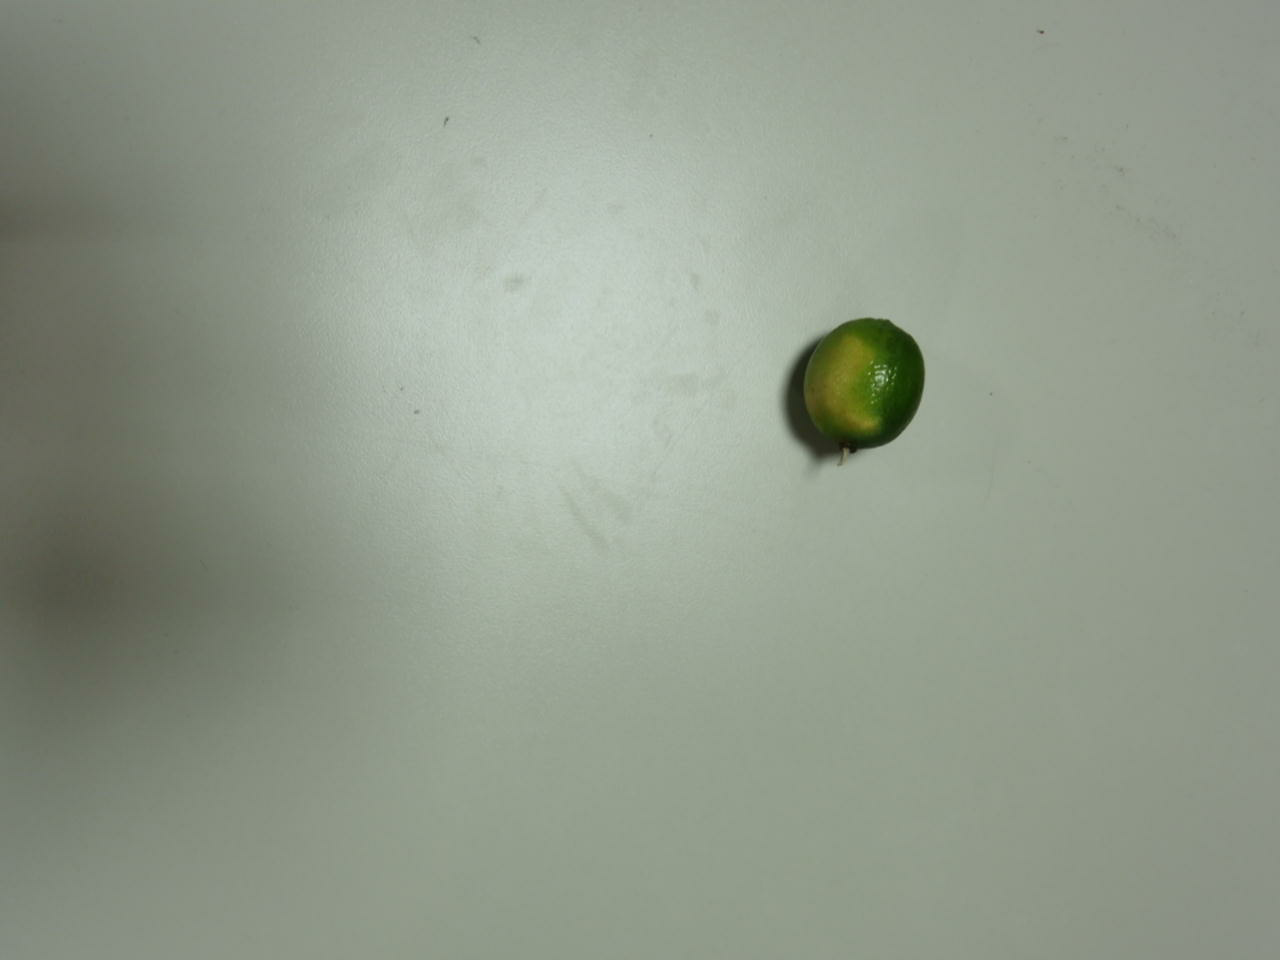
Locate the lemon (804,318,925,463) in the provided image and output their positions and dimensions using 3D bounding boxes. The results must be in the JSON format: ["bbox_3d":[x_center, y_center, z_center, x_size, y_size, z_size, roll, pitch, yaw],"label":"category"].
[{"bbox_3d":[0.098,-0.042,0.436,0.055,0.050,0.054,-30,96,-10],"label":"lemon"}]
